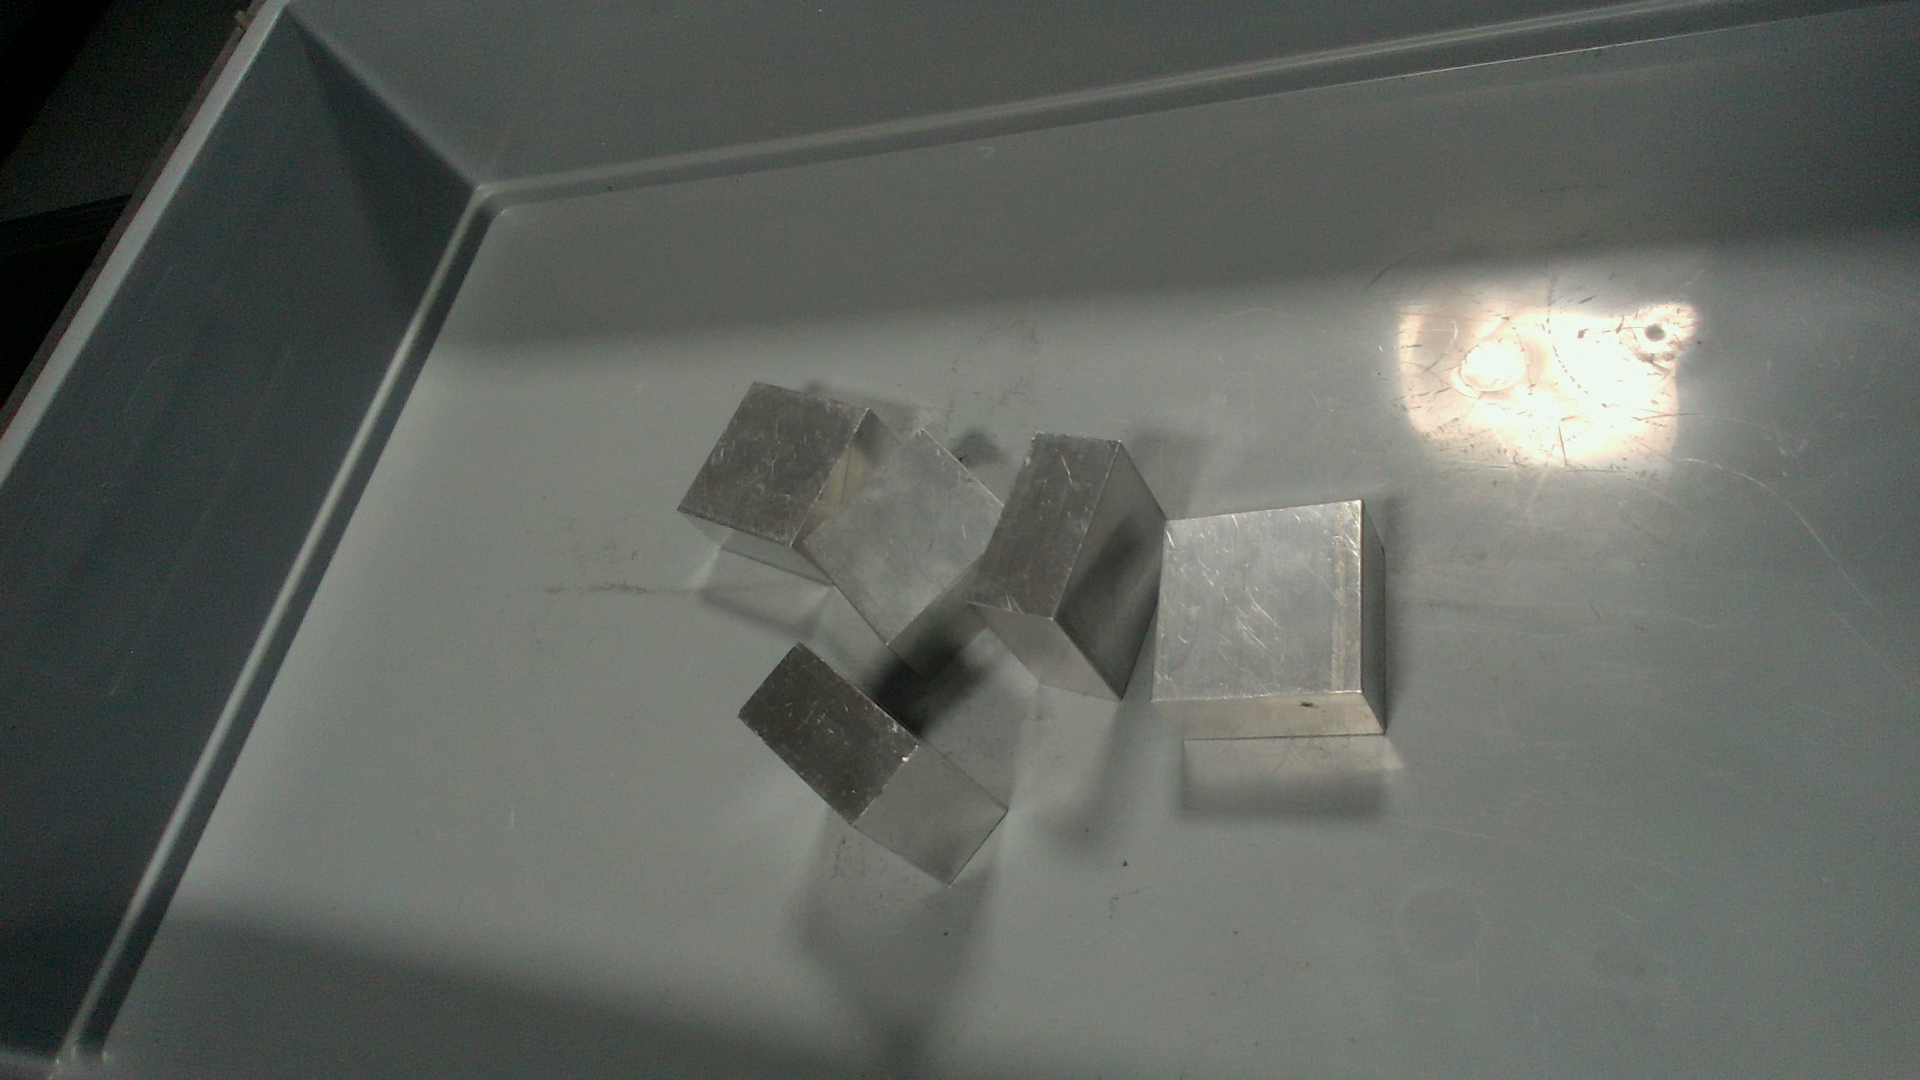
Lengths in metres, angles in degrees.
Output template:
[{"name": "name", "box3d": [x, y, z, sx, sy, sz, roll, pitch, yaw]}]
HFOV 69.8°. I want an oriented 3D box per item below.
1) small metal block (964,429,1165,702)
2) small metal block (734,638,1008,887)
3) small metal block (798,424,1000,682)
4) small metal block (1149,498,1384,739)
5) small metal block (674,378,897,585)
[{"name": "small metal block", "box3d": [0.031, 0.007, 0.355, 0.025, 0.050, 0.050, 10, 67, 32]}, {"name": "small metal block", "box3d": [-0.022, 0.057, 0.352, 0.050, 0.050, 0.025, 35, 82, 38]}, {"name": "small metal block", "box3d": [-0.010, 0.003, 0.395, 0.050, 0.025, 0.050, -43, 51, -2]}, {"name": "small metal block", "box3d": [0.076, 0.020, 0.338, 0.050, 0.025, 0.050, -6, 59, 26]}, {"name": "small metal block", "box3d": [-0.053, -0.019, 0.432, 0.050, 0.025, 0.050, 16, 70, 35]}]
